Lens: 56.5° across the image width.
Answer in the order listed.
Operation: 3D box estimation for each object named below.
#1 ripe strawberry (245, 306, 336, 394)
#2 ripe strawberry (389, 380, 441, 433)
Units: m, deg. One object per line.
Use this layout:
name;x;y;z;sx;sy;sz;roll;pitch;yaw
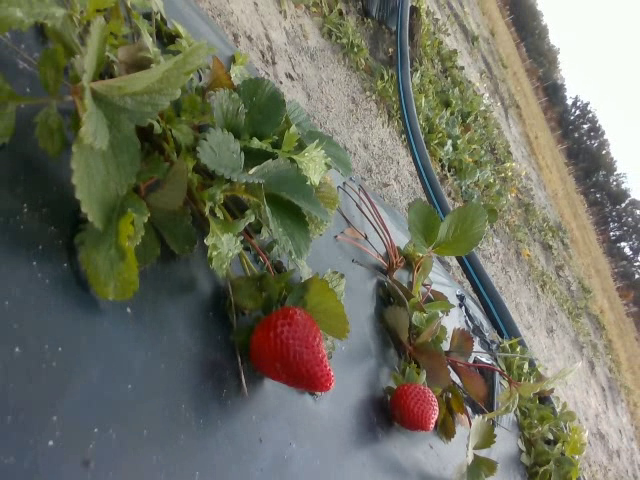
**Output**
ripe strawberry;-0.011;0.058;0.287;0.046;0.051;0.050;-30;34;-27
ripe strawberry;0.068;0.121;0.408;0.041;0.045;0.052;0;12;-8
